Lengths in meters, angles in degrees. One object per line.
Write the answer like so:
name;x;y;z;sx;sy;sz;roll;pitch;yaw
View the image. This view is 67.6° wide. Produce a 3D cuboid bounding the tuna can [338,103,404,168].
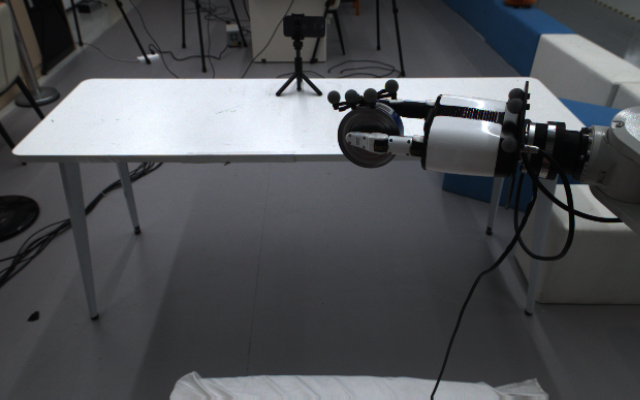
tuna can;0.070;-0.089;0.656;0.085;0.085;0.034;13;29;15
